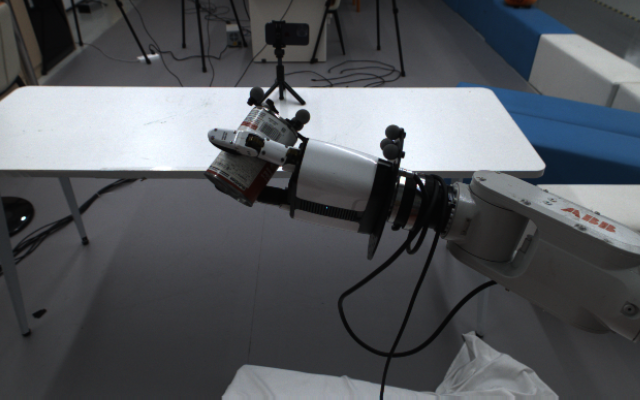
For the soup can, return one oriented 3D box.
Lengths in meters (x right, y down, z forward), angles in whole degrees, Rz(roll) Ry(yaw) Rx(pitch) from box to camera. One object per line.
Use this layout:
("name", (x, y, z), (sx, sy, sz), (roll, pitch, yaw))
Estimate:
("soup can", (-0.080, -0.052, 0.577), (0.067, 0.067, 0.101), (26, 75, 31))
